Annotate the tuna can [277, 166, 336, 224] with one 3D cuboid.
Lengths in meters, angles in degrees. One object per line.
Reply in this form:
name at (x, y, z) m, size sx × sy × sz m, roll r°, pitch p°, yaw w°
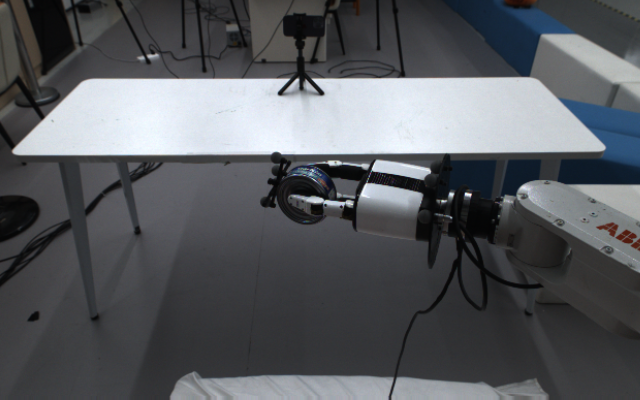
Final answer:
tuna can at (-0.018, -0.003, 0.713) m, size 0.085 × 0.085 × 0.034 m, roll 12°, pitch 30°, yaw 14°
